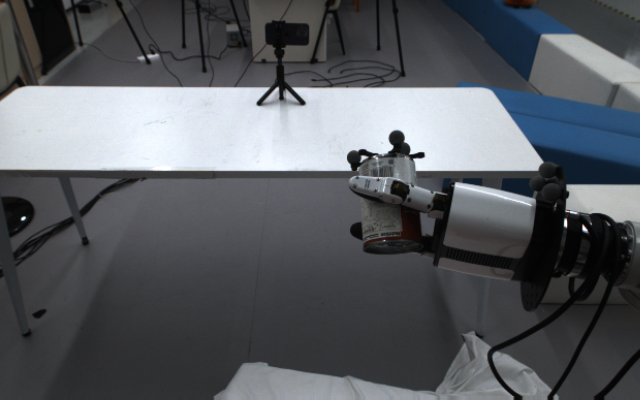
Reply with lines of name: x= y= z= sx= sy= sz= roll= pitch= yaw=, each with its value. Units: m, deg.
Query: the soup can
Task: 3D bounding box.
soup can: x=0.083 y=0.004 z=0.553 sx=0.067 sy=0.067 sz=0.101 roll=-2 pitch=71 yaw=-5
